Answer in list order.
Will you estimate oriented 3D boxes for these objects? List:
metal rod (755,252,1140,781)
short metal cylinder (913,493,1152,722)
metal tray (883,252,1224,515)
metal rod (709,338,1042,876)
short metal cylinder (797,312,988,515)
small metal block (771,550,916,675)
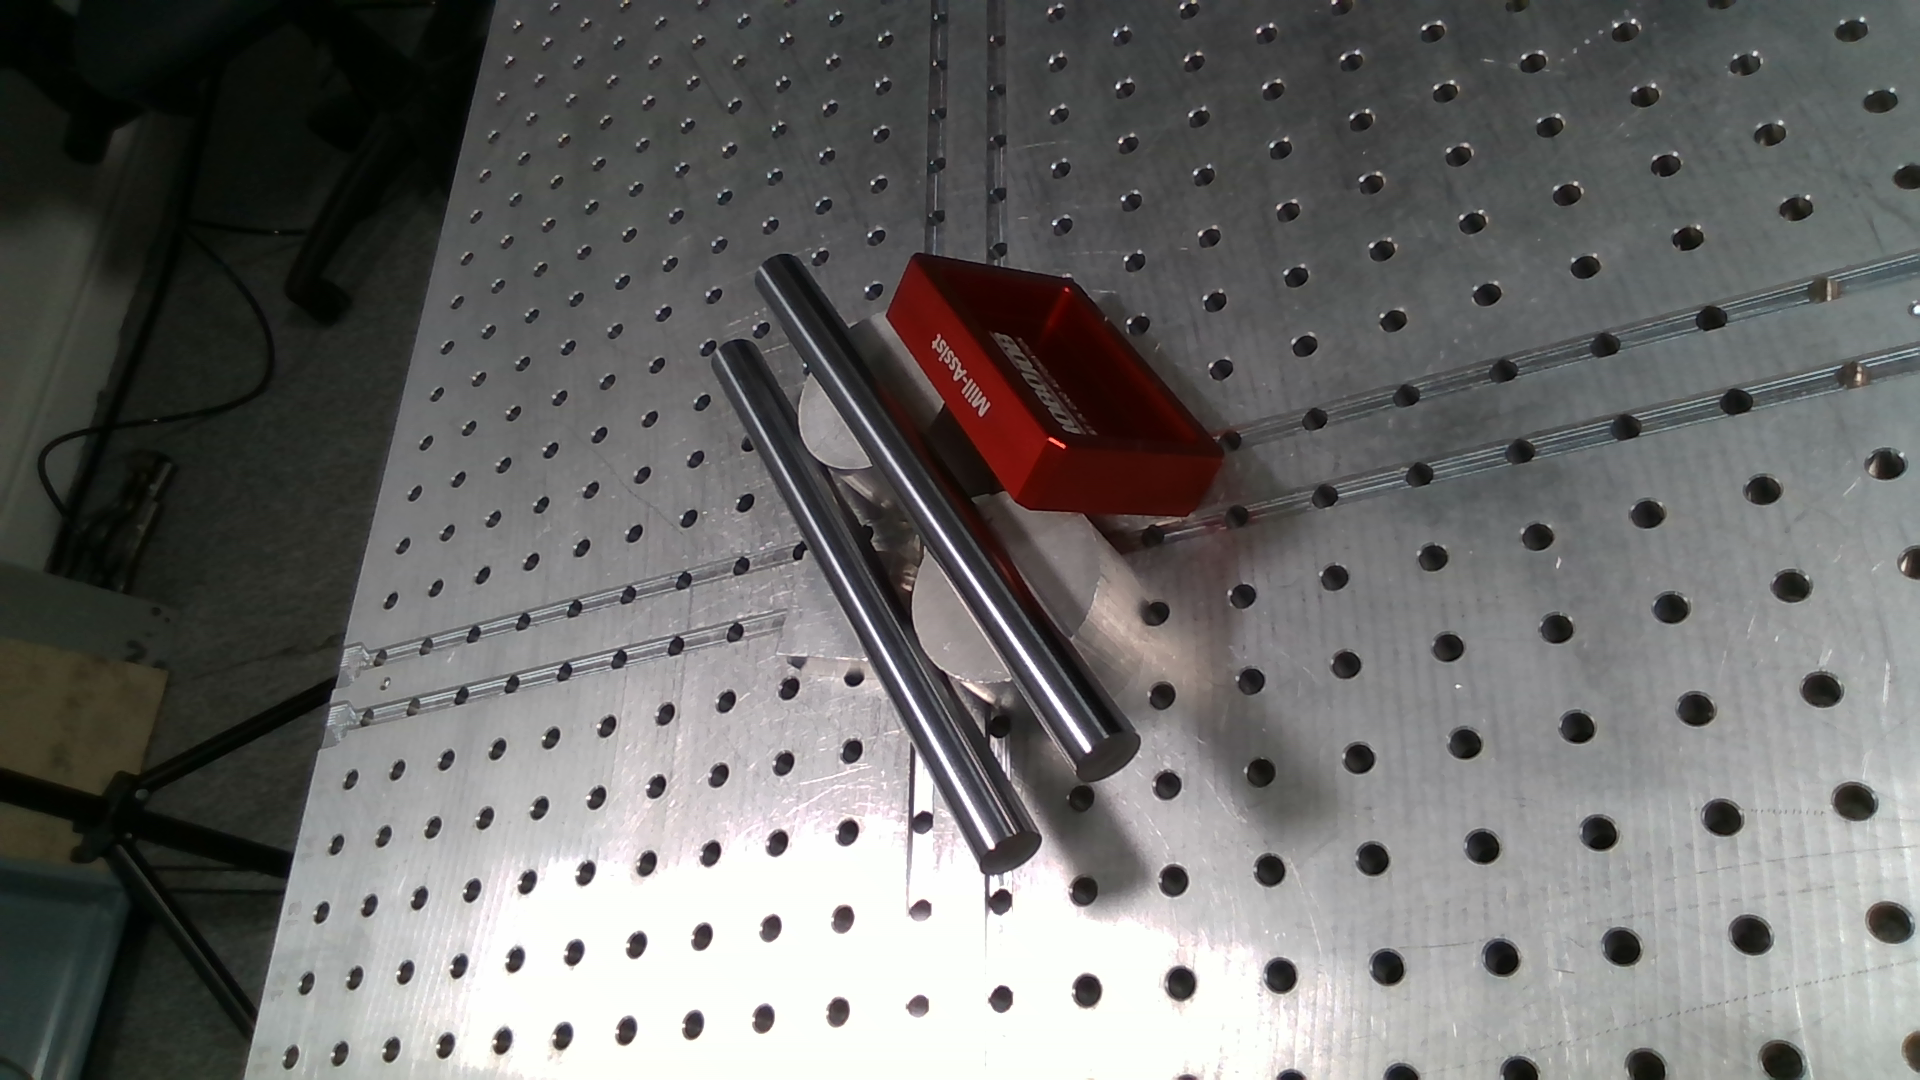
[{"bbox_3d":[-0.018,-0.026,0.547,0.025,0.025,0.299,-40,51,7],"label":"metal rod"},{"bbox_3d":[0.029,0.027,0.541,0.080,0.050,0.080,-14,59,25],"label":"short metal cylinder"},{"bbox_3d":[0.036,-0.064,0.557,0.130,0.090,0.030,57,132,38],"label":"metal tray"},{"bbox_3d":[-0.046,0.011,0.577,0.025,0.025,0.299,-39,52,8],"label":"metal rod"},{"bbox_3d":[-0.026,-0.056,0.618,0.080,0.050,0.080,-14,59,25],"label":"short metal cylinder"},{"bbox_3d":[-0.049,0.032,0.600,0.050,0.025,0.050,1,66,32],"label":"small metal block"}]
